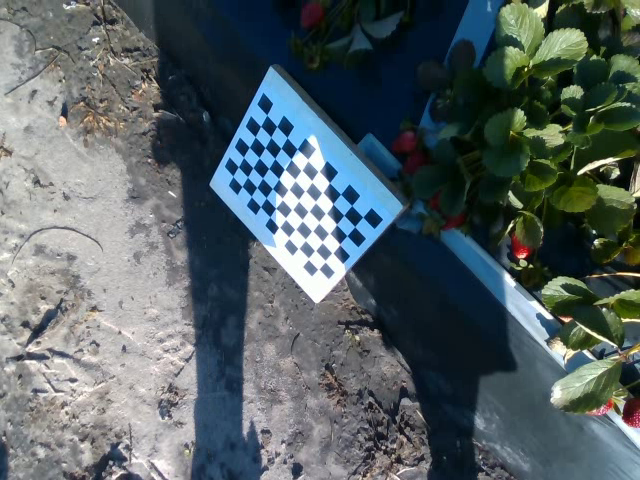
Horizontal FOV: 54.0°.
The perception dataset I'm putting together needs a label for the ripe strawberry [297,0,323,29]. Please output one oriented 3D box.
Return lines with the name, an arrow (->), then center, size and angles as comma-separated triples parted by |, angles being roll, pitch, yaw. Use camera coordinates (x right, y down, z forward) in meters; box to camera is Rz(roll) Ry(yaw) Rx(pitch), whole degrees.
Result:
ripe strawberry -> -0.015, -0.332, 0.932 | 0.042, 0.049, 0.039 | 11, -32, 38
